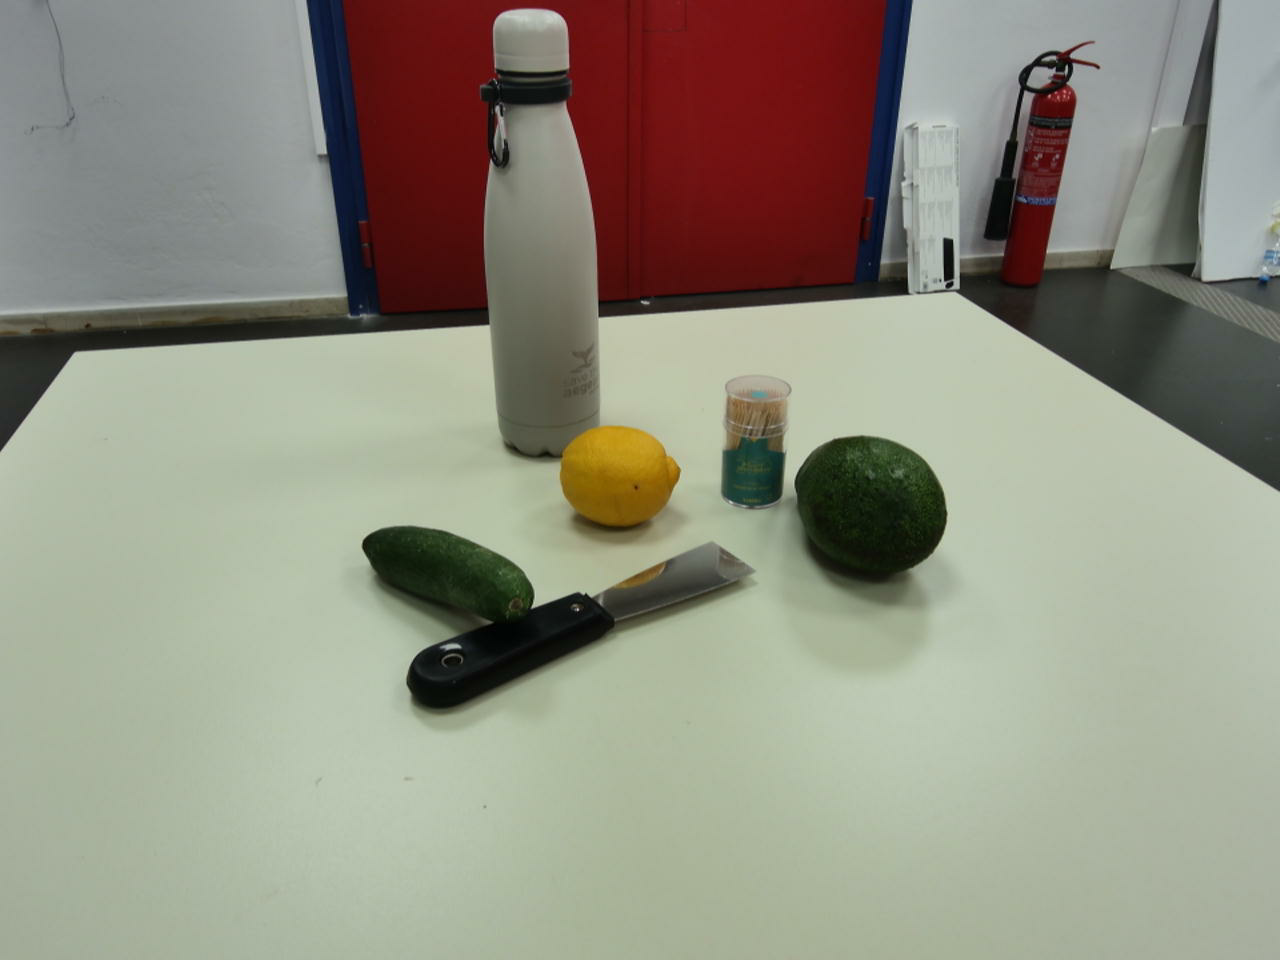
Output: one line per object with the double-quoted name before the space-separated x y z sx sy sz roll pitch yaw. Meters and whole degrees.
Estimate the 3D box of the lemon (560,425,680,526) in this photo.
"lemon" -0.014 -0.002 0.594 0.067 0.059 0.060 15 30 26
